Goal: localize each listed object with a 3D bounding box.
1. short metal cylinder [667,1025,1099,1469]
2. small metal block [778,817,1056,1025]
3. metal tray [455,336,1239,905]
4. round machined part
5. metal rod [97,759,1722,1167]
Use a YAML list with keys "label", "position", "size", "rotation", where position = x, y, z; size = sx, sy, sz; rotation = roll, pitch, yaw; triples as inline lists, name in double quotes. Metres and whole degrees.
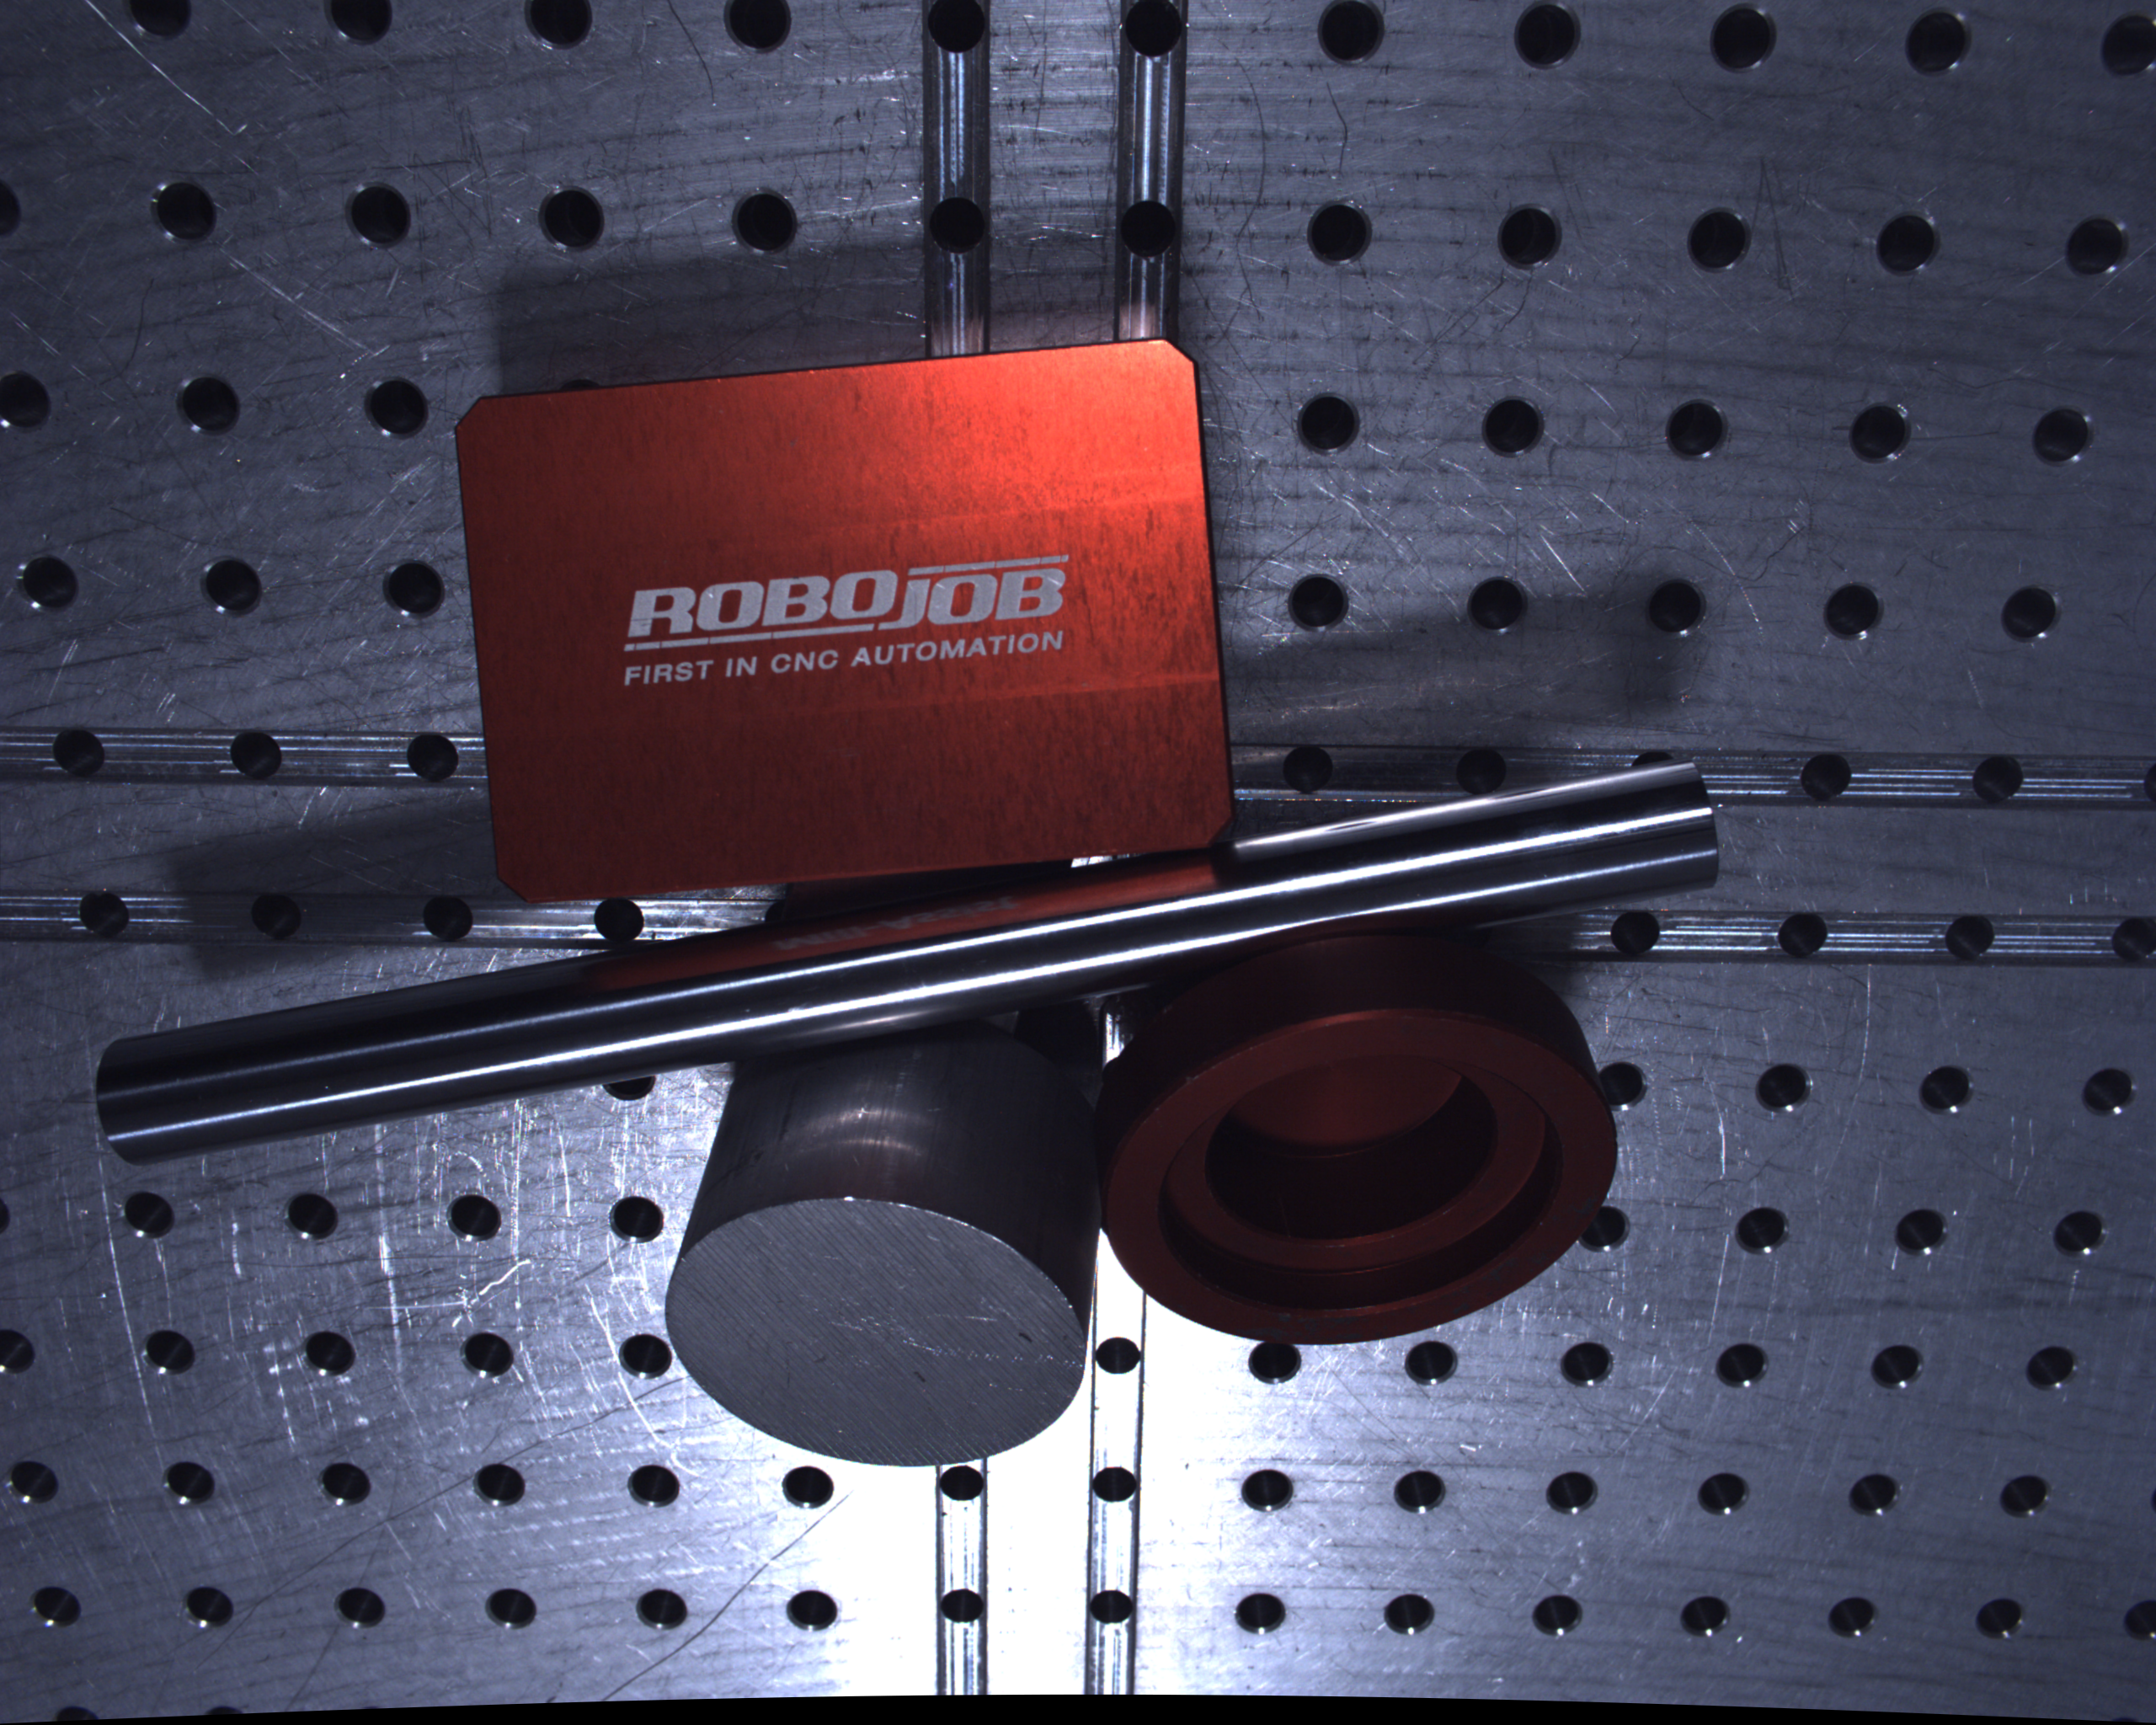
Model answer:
- label: "short metal cylinder"
  position: [-0.036, 0.076, 0.415]
  size: [0.080, 0.050, 0.079]
  rotation: [3, 129, 4]
- label: "small metal block"
  position: [-0.036, 0.015, 0.427]
  size: [0.050, 0.025, 0.050]
  rotation: [17, 109, -7]
- label: "metal tray"
  position: [-0.040, -0.043, 0.380]
  size: [0.131, 0.030, 0.089]
  rotation: [-5, 92, 0]
- label: "round machined part"
  position: [0.053, 0.049, 0.411]
  size: [0.099, 0.042, 0.097]
  rotation: [-3, 132, -3]
- label: "metal rod"
  position: [-0.033, 0.020, 0.393]
  size: [0.302, 0.025, 0.025]
  rotation: [-10, 110, 3]
